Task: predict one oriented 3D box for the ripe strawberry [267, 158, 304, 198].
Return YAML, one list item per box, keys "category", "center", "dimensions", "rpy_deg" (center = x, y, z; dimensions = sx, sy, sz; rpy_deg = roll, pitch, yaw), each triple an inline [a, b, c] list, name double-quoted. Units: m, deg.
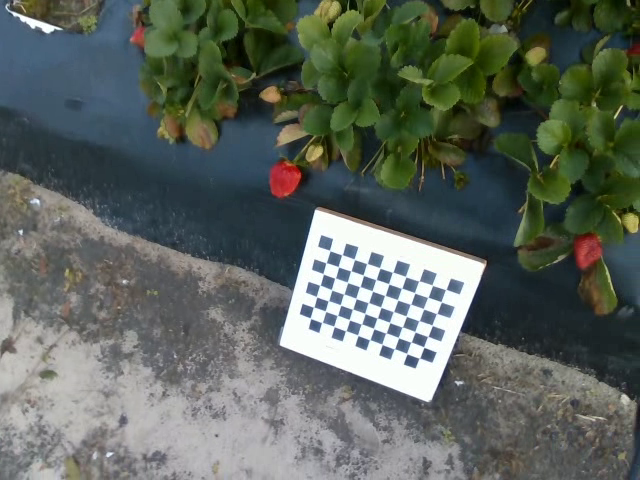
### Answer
- category: "ripe strawberry"
  center: [-0.070, -0.114, 1.115]
  dimensions: [0.067, 0.075, 0.039]
  rpy_deg: [24, 20, 11]
